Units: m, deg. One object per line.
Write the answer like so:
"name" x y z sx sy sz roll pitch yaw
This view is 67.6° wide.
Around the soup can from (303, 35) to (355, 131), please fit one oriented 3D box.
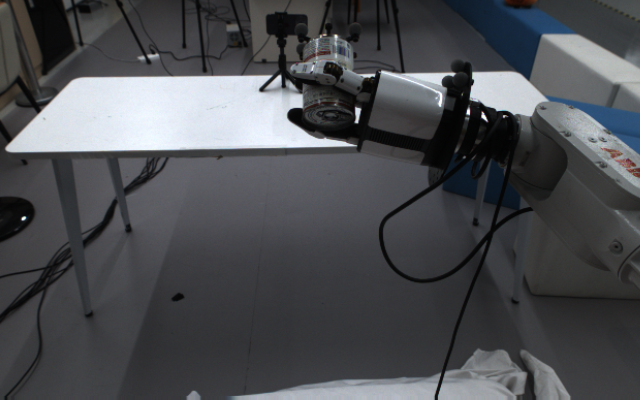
"soup can" 0.012 -0.148 0.614 0.067 0.067 0.101 1 73 -2
